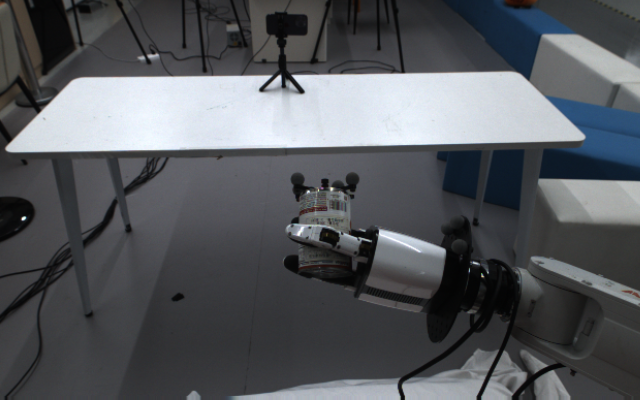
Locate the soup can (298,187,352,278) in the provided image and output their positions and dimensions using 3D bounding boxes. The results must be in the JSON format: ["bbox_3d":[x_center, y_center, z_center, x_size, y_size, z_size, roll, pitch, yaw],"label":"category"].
[{"bbox_3d":[0.007,0.043,0.603,0.067,0.067,0.101,1,73,-2],"label":"soup can"}]
